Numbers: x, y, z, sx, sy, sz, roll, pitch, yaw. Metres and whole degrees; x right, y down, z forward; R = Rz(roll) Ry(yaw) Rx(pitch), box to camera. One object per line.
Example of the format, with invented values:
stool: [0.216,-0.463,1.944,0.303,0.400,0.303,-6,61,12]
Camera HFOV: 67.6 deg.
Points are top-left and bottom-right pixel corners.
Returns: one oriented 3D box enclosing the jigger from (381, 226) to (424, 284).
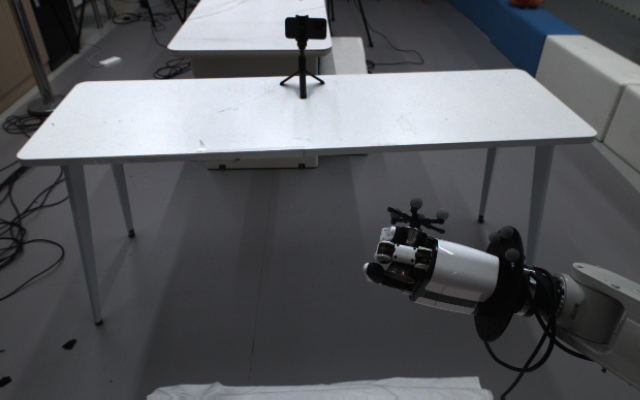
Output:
jigger: [0.120,0.073,0.663,0.043,0.043,0.071,15,70,18]
